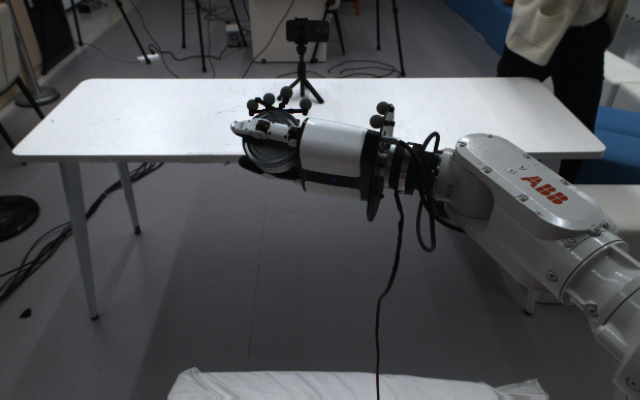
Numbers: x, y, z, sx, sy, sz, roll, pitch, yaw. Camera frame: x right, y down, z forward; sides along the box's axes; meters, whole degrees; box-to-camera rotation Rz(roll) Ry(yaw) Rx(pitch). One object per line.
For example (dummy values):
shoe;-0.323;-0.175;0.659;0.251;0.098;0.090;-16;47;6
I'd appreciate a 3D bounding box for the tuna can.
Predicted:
tuna can;-0.064;-0.082;0.687;0.085;0.034;0.085;-3;73;10
